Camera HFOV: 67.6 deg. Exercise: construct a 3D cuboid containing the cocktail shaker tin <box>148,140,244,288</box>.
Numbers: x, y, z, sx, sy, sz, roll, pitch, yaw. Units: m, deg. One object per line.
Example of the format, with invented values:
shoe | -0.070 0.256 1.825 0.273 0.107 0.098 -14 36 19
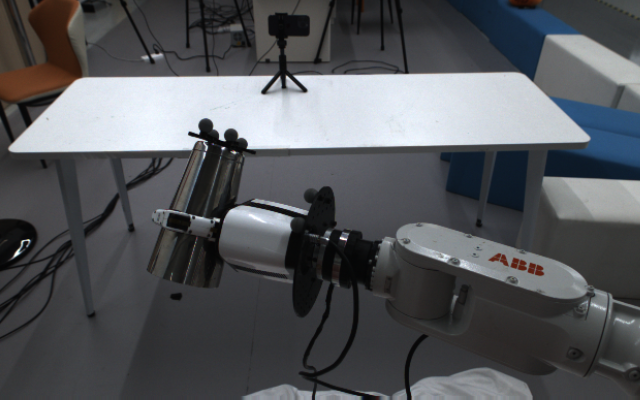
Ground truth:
cocktail shaker tin | -0.150 0.018 0.616 0.093 0.170 0.093 15 -4 1
